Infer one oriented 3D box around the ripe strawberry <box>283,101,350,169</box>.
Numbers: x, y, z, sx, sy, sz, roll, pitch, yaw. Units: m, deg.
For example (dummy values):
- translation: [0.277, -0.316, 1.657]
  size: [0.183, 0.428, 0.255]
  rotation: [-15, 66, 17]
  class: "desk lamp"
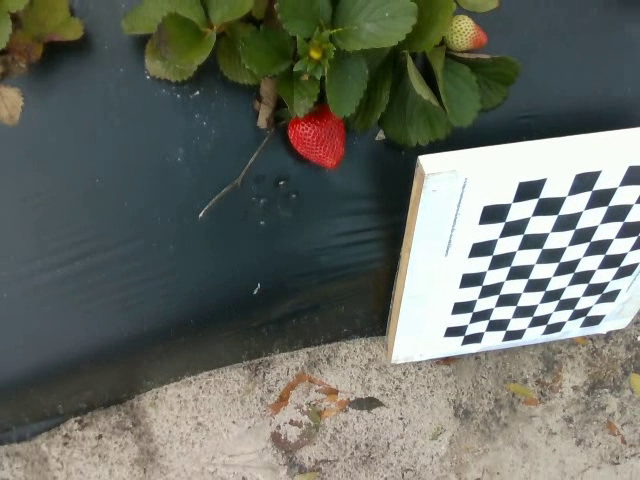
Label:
- translation: [-0.002, -0.062, 0.393]
  size: [0.037, 0.046, 0.036]
  rotation: [-33, -4, 31]
  class: "ripe strawberry"
